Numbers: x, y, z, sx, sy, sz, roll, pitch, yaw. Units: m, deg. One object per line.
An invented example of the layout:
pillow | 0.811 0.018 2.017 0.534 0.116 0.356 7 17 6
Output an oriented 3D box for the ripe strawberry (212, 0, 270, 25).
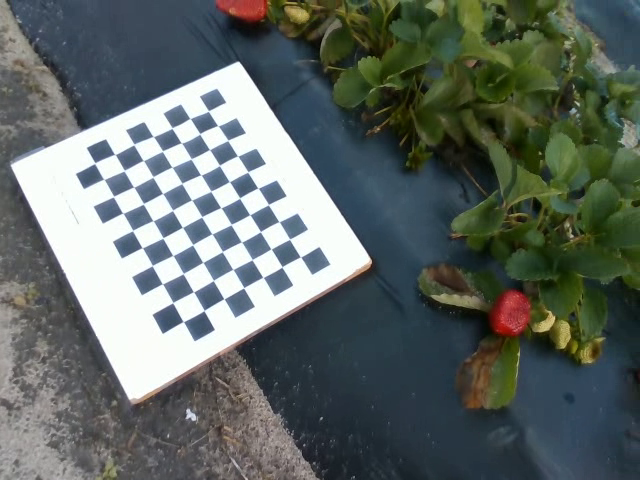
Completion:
ripe strawberry | -0.113 -0.323 0.788 0.074 0.067 0.039 -25 -20 -16
